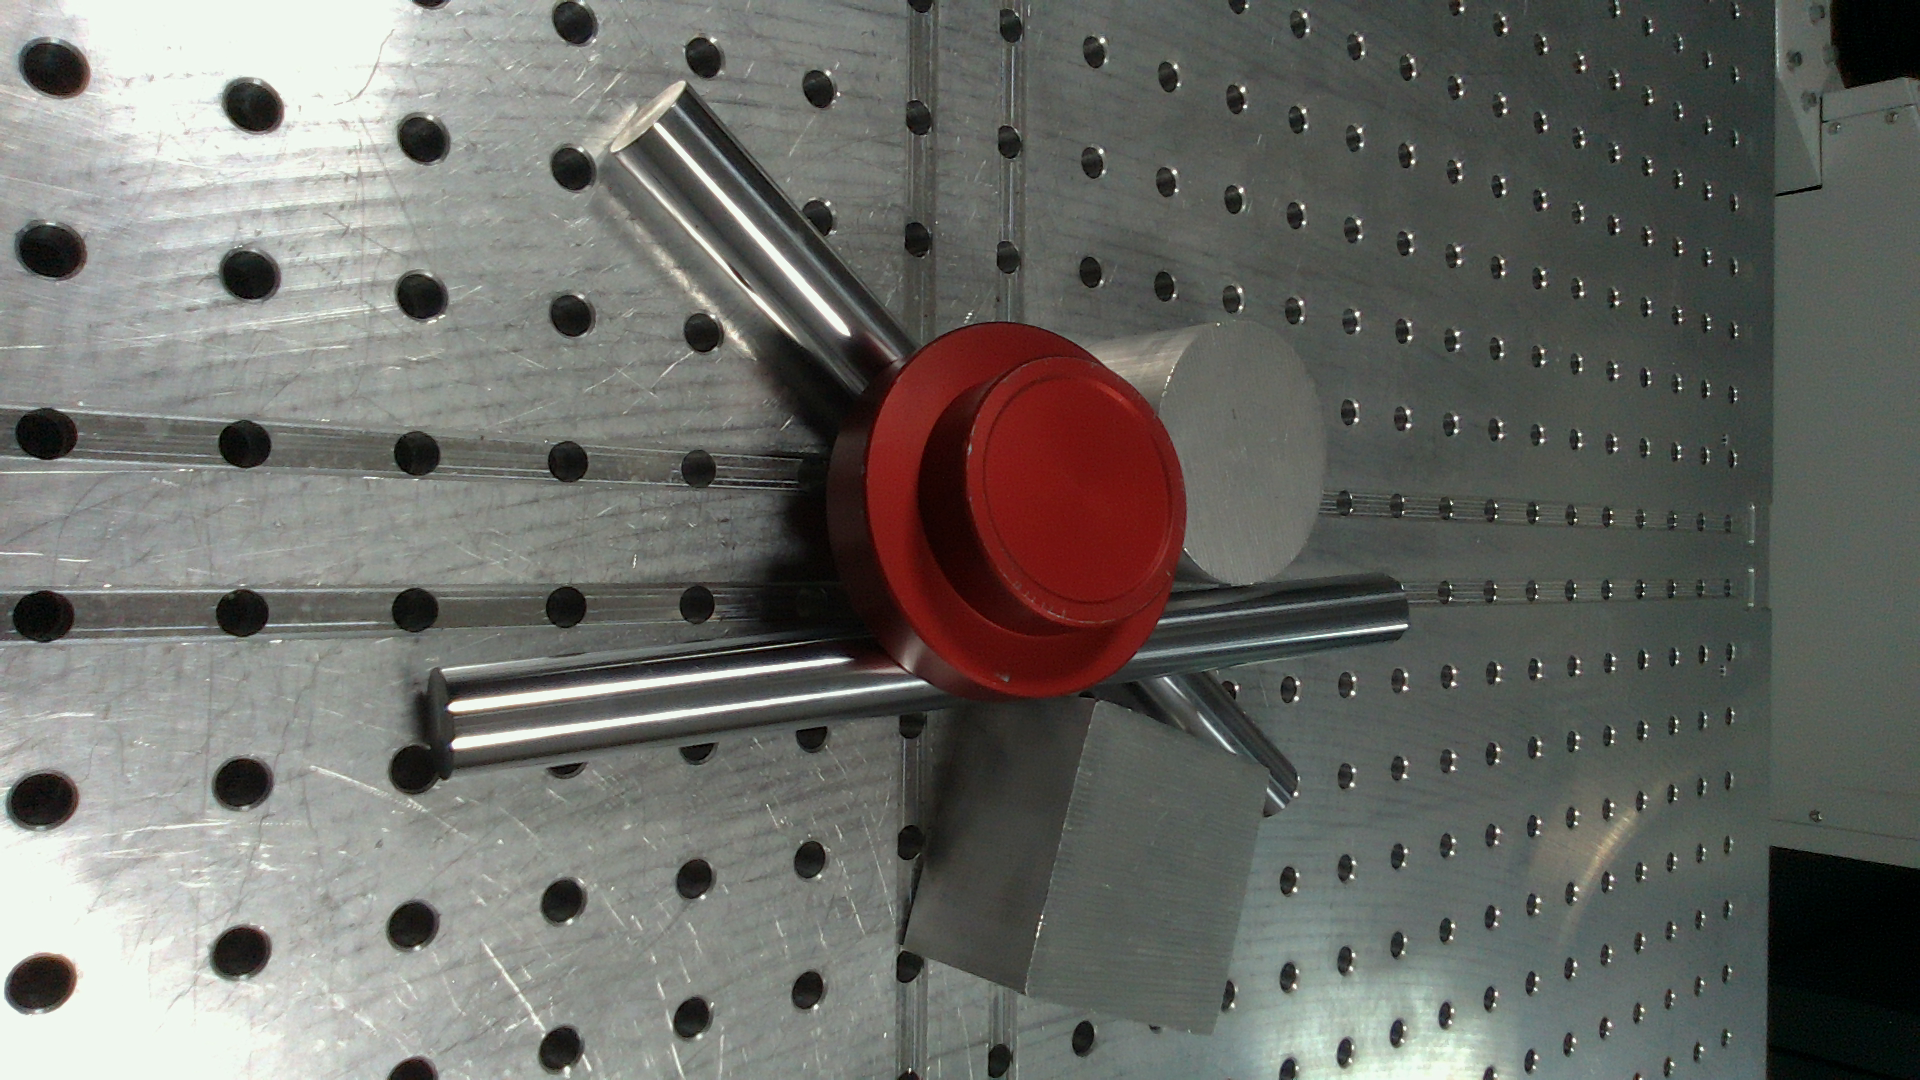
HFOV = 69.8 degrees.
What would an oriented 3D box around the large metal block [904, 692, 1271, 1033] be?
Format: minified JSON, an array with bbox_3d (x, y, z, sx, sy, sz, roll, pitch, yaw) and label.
[{"bbox_3d":[0.039,0.093,0.406,0.080,0.050,0.080,25,74,-37],"label":"large metal block"}]

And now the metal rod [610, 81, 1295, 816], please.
[{"bbox_3d":[0.016,-0.008,0.405,0.301,0.025,0.025,46,63,-30],"label":"metal rod"}]

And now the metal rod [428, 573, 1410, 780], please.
[{"bbox_3d":[0.014,0.031,0.379,0.301,0.025,0.025,-4,92,-32],"label":"metal rod"}]

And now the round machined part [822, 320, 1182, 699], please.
[{"bbox_3d":[0.018,-0.009,0.352,0.098,0.042,0.098,7,78,-33],"label":"round machined part"}]

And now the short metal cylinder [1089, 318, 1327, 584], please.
[{"bbox_3d":[0.071,-0.027,0.433,0.080,0.050,0.080,0,90,-40],"label":"short metal cylinder"}]
